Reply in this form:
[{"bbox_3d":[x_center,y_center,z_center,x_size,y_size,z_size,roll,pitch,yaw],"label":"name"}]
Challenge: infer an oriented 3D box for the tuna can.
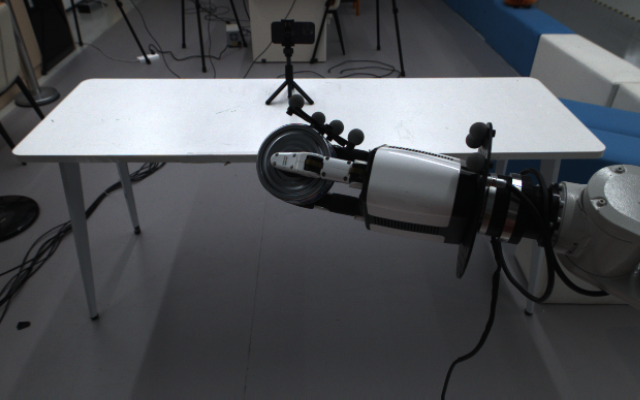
[{"bbox_3d":[-0.021,-0.033,0.527,0.085,0.085,0.034,13,-4,15],"label":"tuna can"}]
